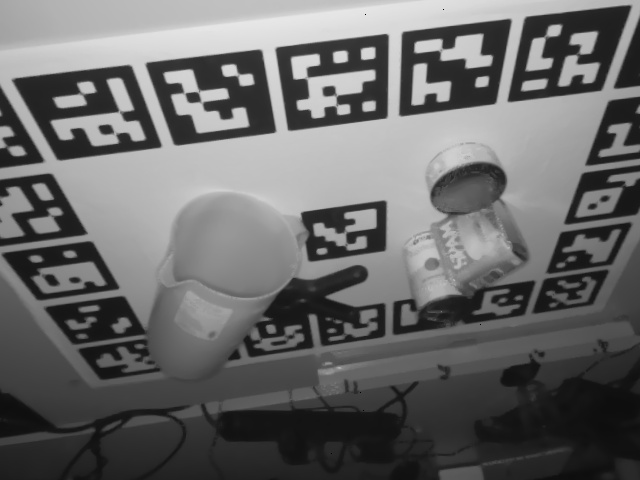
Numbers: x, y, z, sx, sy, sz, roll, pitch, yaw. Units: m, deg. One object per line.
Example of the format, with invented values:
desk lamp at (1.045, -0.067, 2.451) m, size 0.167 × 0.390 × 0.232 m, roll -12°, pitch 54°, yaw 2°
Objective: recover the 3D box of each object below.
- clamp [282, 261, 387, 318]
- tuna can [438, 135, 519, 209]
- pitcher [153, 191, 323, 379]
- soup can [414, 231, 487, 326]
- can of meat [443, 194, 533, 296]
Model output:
clamp at (0.004, 0.072, 0.930) m, size 0.165 × 0.037 × 0.121 m, roll -4°, pitch 144°, yaw -2°
tuna can at (0.176, -0.076, 0.776) m, size 0.086 × 0.034 × 0.085 m, roll -6°, pitch 138°, yaw -4°
pitcher at (-0.108, 0.062, 0.801) m, size 0.192 × 0.133 × 0.238 m, roll -12°, pitch 153°, yaw -32°
soup can at (0.161, 0.047, 0.867) m, size 0.068 × 0.102 × 0.067 m, roll -7°, pitch 138°, yaw -6°
can of meat at (0.204, 0.001, 0.815) m, size 0.083 × 0.102 × 0.058 m, roll -34°, pitch 133°, yaw 22°
